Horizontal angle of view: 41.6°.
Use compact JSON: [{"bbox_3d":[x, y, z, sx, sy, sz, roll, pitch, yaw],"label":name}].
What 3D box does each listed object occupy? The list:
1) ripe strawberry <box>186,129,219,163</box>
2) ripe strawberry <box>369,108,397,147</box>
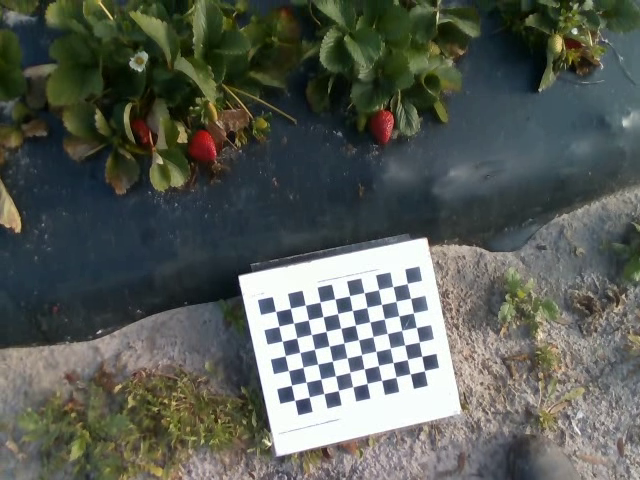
[{"bbox_3d":[-0.106,-0.085,0.775,0.030,0.032,0.025,38,-9,14],"label":"ripe strawberry"},{"bbox_3d":[0.064,-0.110,0.812,0.029,0.036,0.021,-10,-8,-6],"label":"ripe strawberry"}]
